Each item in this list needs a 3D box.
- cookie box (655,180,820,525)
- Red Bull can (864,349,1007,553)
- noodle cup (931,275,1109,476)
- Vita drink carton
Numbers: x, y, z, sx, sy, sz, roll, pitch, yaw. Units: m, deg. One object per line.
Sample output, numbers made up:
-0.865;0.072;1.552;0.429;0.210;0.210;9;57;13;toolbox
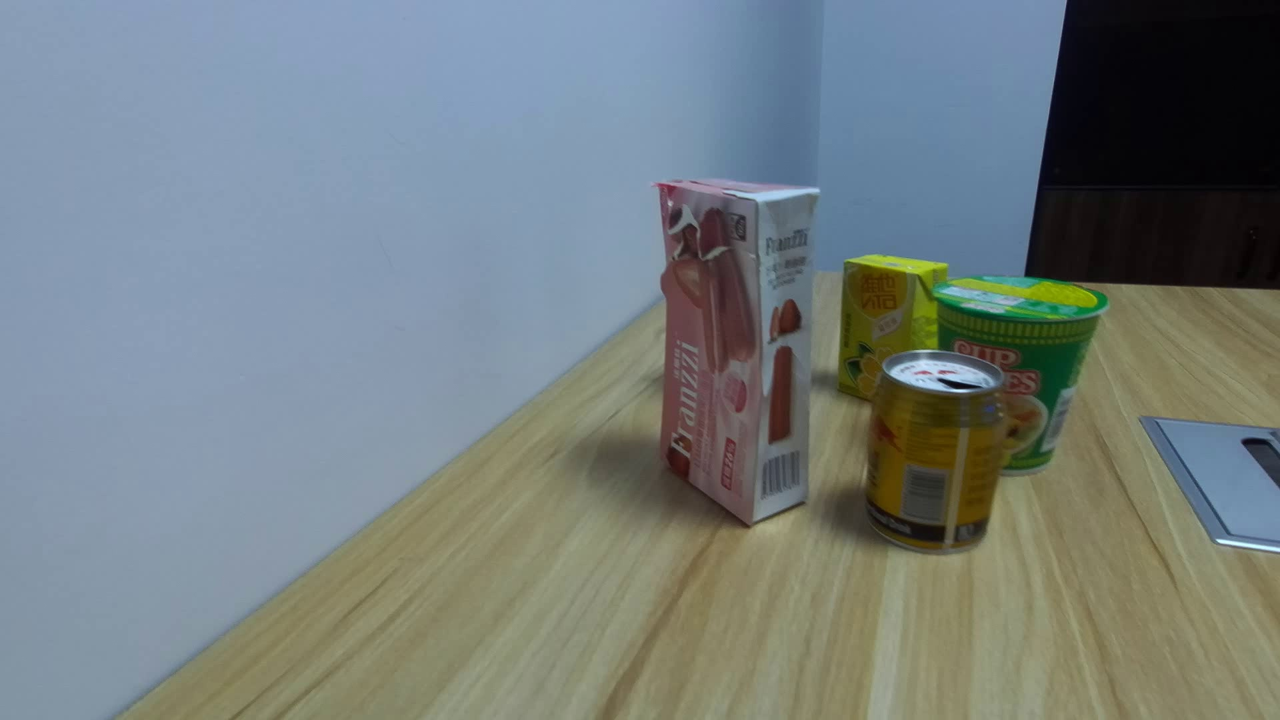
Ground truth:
0.052;-0.008;0.407;0.059;0.186;0.104;-11;22;-26;cookie box
0.157;0.048;0.381;0.068;0.093;0.068;-1;21;1;Red Bull can
0.233;0.010;0.448;0.097;0.110;0.097;-3;20;1;noodle cup
0.190;-0.024;0.542;0.043;0.109;0.076;-13;21;-33;Vita drink carton
